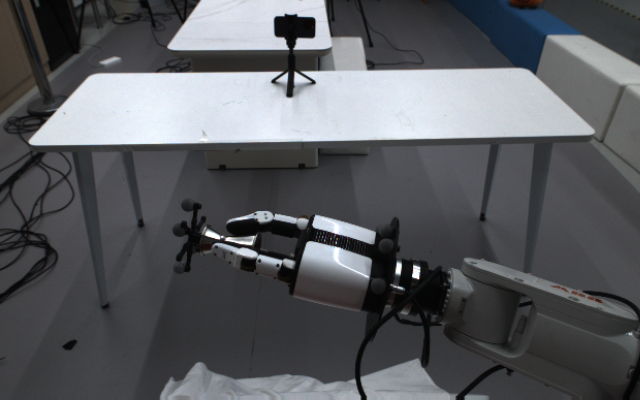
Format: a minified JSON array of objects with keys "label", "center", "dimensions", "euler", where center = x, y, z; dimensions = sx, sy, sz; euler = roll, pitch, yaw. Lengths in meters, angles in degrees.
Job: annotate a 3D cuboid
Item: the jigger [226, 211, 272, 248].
[{"label":"jigger","center":[-0.105,0.054,0.612],"dimensions":[0.071,0.043,0.043],"euler":[9,35,3]}]
